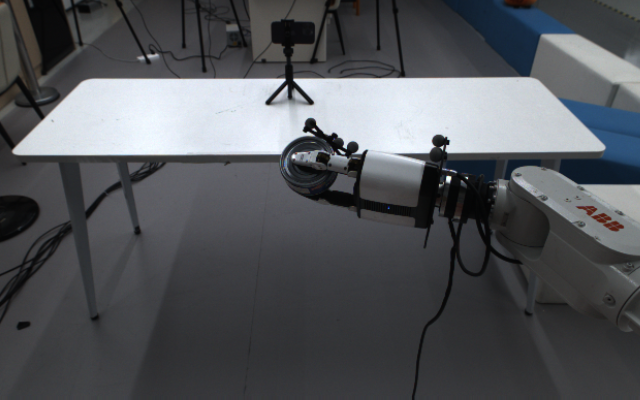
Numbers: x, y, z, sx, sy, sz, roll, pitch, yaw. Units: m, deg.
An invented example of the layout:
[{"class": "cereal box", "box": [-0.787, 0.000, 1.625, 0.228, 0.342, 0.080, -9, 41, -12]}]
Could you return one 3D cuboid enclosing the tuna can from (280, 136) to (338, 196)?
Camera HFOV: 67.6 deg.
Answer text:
[{"class": "tuna can", "box": [-0.016, -0.053, 0.723, 0.085, 0.034, 0.085, -4, 69, 10]}]
